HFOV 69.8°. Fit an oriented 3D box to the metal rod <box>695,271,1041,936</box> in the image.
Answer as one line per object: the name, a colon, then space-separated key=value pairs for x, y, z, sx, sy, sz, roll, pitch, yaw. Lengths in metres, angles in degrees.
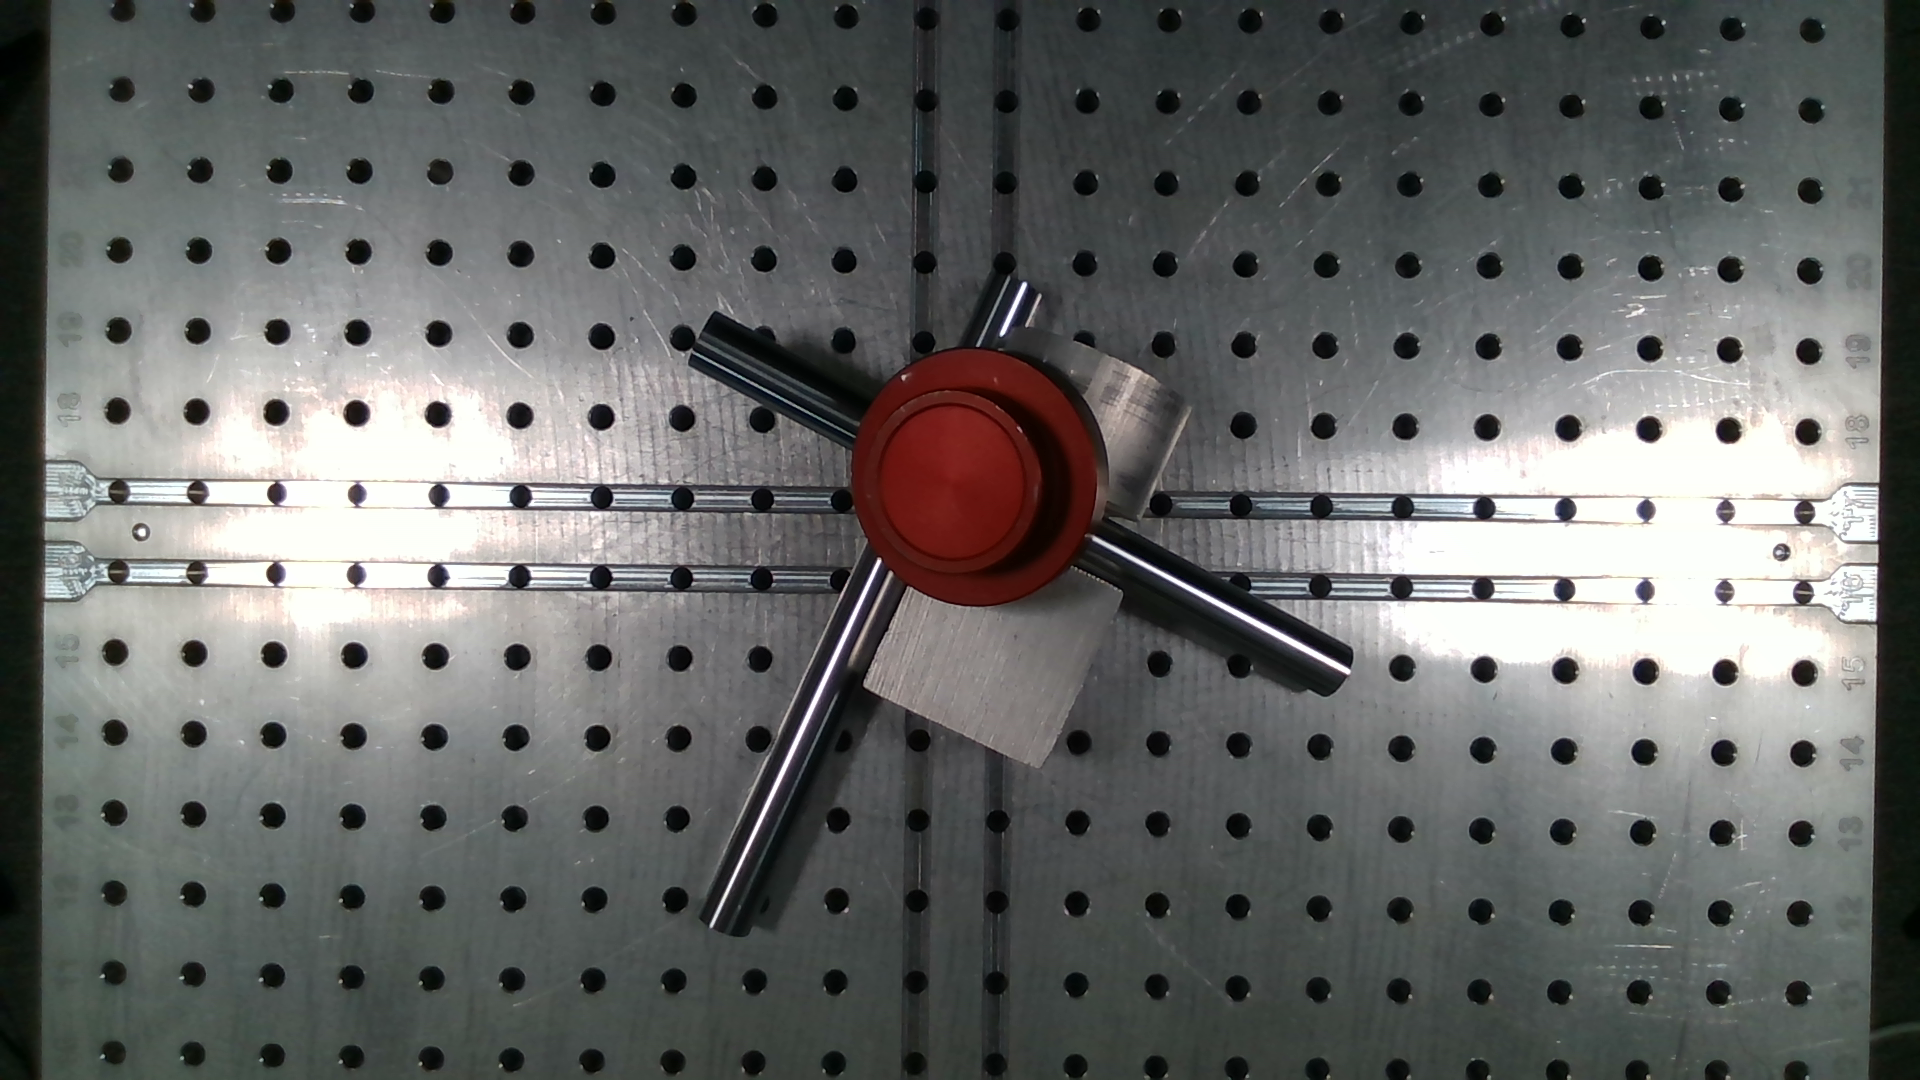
metal rod: x=-0.039 y=0.027 z=0.589 sx=0.025 sy=0.025 sz=0.300 roll=25 pitch=90 yaw=0

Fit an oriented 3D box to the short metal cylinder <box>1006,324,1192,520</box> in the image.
short metal cylinder: x=0.047 y=-0.047 z=0.561 sx=0.080 sy=0.080 sz=0.050 roll=25 pitch=90 yaw=0

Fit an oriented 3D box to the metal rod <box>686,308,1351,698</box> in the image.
metal rod: x=0.028 y=-0.013 z=0.570 sx=0.300 sy=0.025 sz=0.025 roll=28 pitch=90 yaw=-8

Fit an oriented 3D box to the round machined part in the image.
round machined part: x=0.003 y=-0.023 z=0.515 sx=0.098 sy=0.042 sz=0.098 roll=3 pitch=98 yaw=19

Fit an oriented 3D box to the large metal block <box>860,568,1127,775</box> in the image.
large metal block: x=0.013 y=0.040 z=0.574 sx=0.080 sy=0.050 sz=0.080 roll=26 pitch=90 yaw=0
